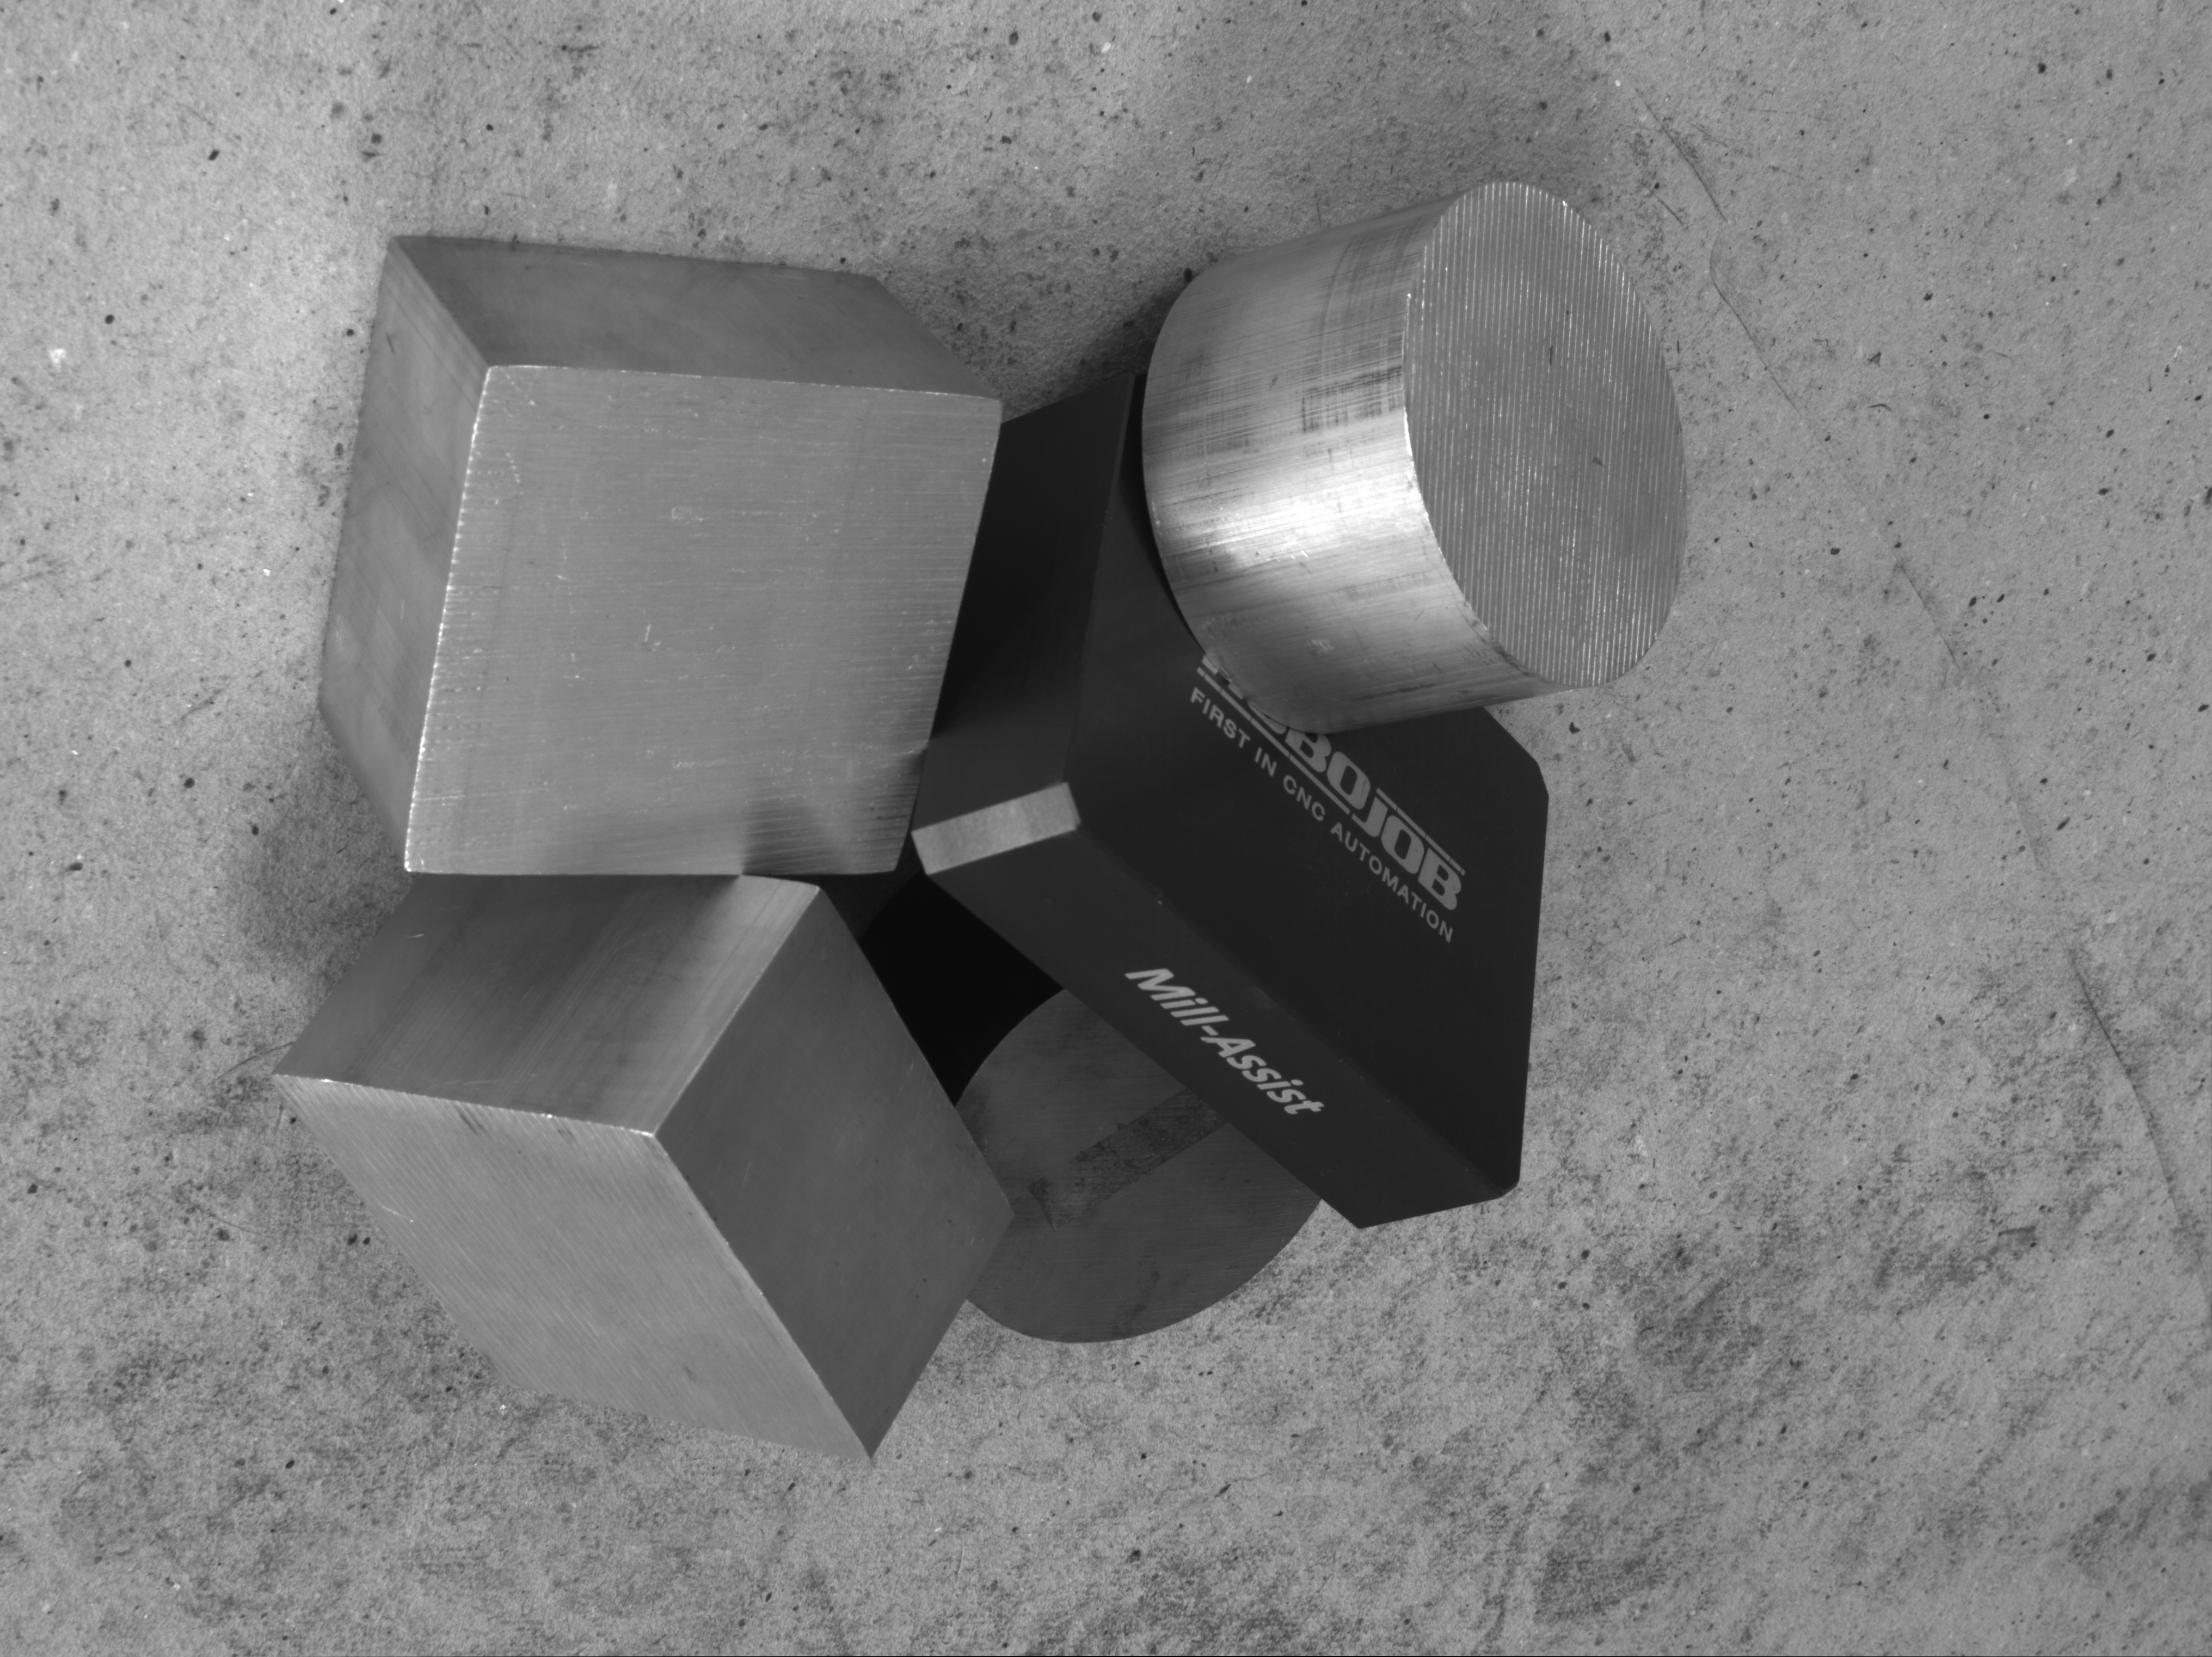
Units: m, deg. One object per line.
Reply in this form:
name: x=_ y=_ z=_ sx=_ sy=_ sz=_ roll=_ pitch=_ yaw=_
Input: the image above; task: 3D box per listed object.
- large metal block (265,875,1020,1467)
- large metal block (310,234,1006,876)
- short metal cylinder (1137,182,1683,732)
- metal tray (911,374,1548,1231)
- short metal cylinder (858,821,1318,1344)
large metal block: x=-0.072 y=0.051 z=0.586 sx=0.050 sy=0.080 sz=0.080 roll=-58 pitch=138 yaw=-34
large metal block: x=-0.070 y=-0.040 z=0.558 sx=0.080 sy=0.050 sz=0.080 roll=1 pitch=118 yaw=-29
short metal cylinder: x=0.050 y=-0.058 z=0.588 sx=0.080 sy=0.050 sz=0.080 roll=12 pitch=74 yaw=-49
metal tray: x=0.025 y=-0.002 z=0.610 sx=0.030 sy=0.090 sz=0.130 roll=-17 pitch=138 yaw=33
short metal cylinder: x=-0.003 y=0.043 z=0.647 sx=0.080 sy=0.050 sz=0.080 roll=-13 pitch=124 yaw=-21
